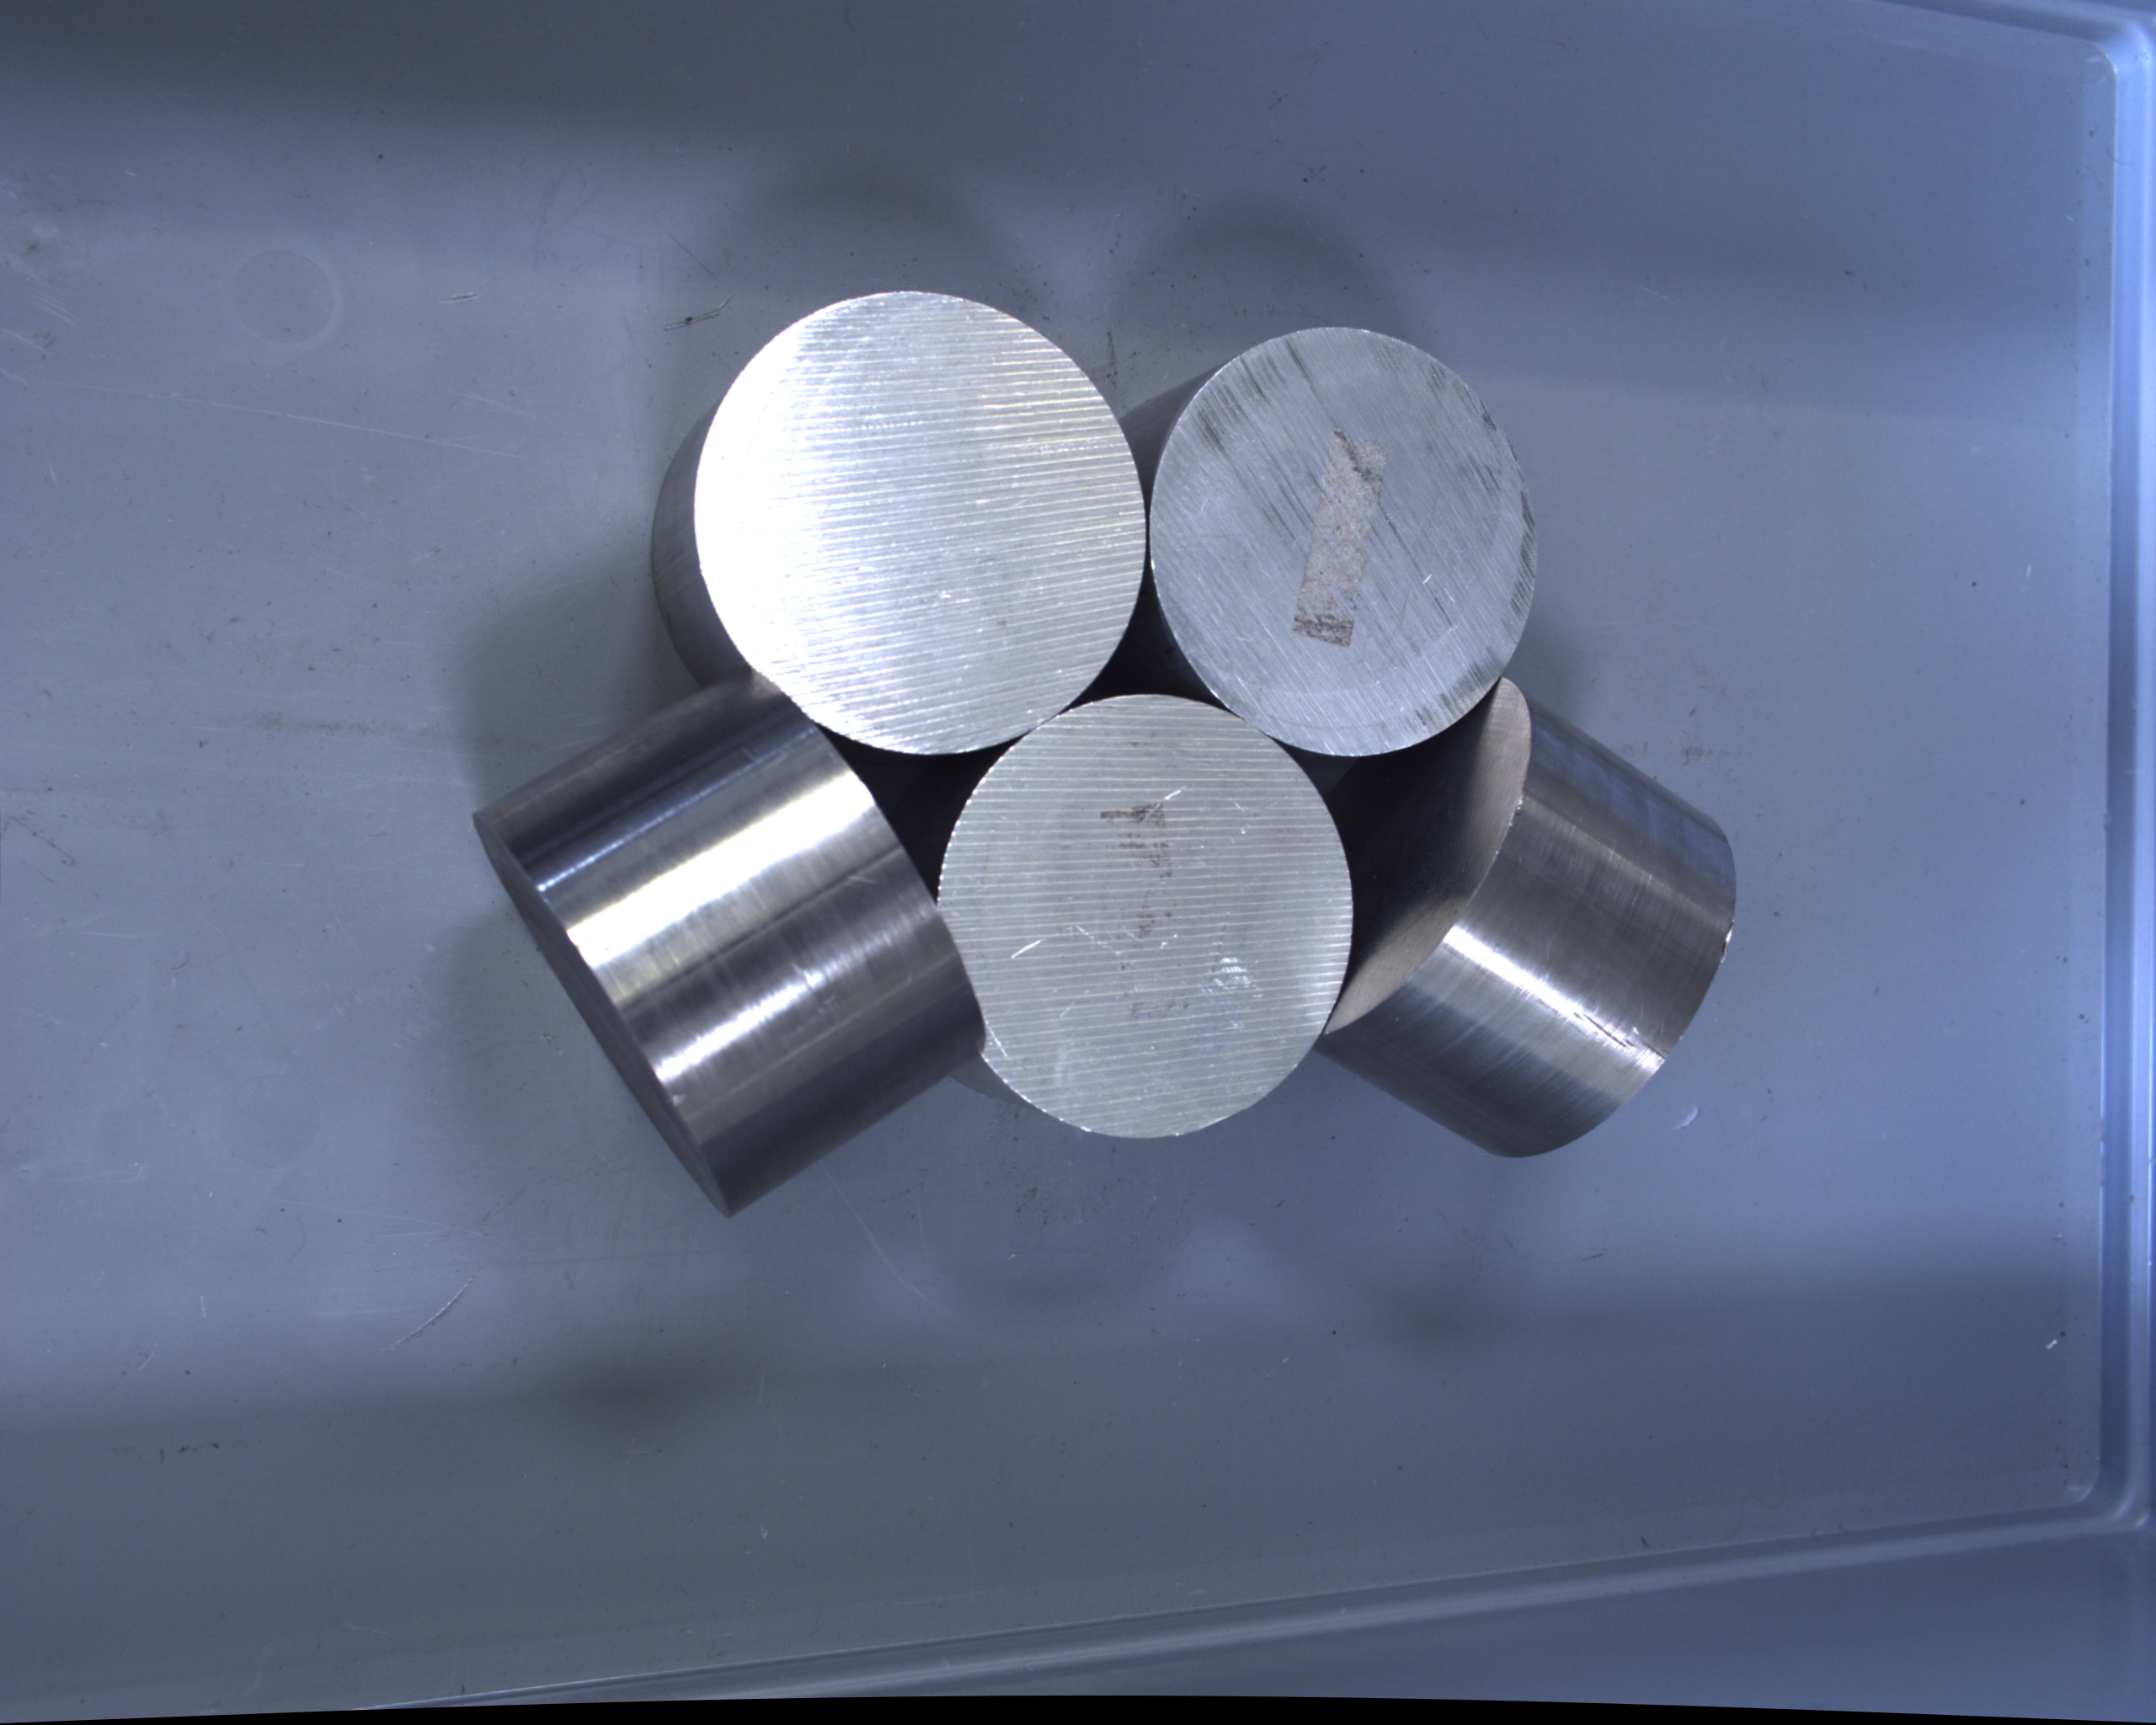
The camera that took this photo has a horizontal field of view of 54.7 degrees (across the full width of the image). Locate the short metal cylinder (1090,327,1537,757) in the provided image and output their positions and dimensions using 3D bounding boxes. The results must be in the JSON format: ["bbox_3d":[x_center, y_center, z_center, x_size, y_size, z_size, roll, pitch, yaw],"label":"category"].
[{"bbox_3d":[0.042,-0.060,0.411,0.081,0.050,0.080,0,90,-20],"label":"short metal cylinder"}]

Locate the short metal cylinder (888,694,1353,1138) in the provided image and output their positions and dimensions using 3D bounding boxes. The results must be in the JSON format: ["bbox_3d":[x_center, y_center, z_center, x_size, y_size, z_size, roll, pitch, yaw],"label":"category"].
[{"bbox_3d":[0.005,0.009,0.397,0.081,0.050,0.080,0,90,-20],"label":"short metal cylinder"}]

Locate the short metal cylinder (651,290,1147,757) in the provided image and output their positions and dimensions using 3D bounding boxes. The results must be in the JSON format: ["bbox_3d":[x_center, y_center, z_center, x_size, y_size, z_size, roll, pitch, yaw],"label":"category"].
[{"bbox_3d":[-0.034,-0.059,0.383,0.081,0.050,0.080,0,90,-20],"label":"short metal cylinder"}]

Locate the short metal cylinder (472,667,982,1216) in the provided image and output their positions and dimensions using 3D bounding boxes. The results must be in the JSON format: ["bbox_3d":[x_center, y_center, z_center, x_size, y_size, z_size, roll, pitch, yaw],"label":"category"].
[{"bbox_3d":[-0.060,0.013,0.358,0.050,0.080,0.080,-32,101,-17],"label":"short metal cylinder"}]

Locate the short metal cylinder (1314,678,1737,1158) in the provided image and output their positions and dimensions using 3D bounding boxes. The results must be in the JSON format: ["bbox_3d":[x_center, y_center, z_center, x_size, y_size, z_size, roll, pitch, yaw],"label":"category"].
[{"bbox_3d":[0.081,0.011,0.409,0.050,0.080,0.080,31,80,-17],"label":"short metal cylinder"}]
